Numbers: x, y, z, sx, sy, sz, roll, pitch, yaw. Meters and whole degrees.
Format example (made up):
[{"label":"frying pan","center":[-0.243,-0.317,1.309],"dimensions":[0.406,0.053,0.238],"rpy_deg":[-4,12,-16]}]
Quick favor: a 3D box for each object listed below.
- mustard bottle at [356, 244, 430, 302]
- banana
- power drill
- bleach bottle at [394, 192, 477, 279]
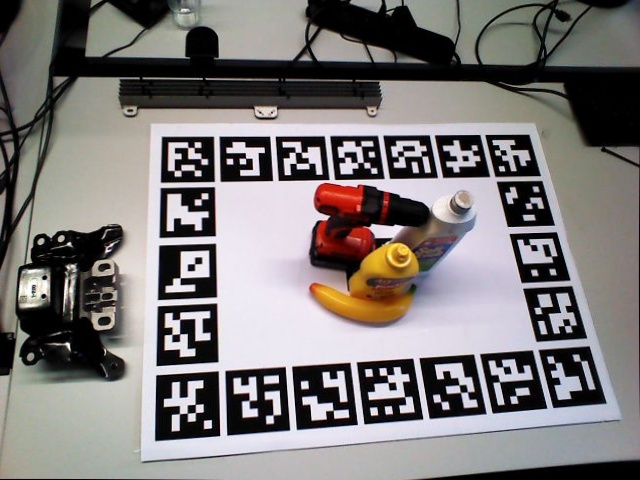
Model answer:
[{"label":"mustard bottle","center":[0.124,0.051,0.841],"dimensions":[0.096,0.192,0.058],"rpy_deg":[-1,69,-9]},{"label":"banana","center":[0.095,0.110,0.907],"dimensions":[0.197,0.039,0.074],"rpy_deg":[3,70,-4]},{"label":"power drill","center":[0.082,-0.022,0.841],"dimensions":[0.185,0.188,0.057],"rpy_deg":[11,67,-5]},{"label":"bleach bottle","center":[0.193,-0.013,0.849],"dimensions":[0.102,0.252,0.067],"rpy_deg":[1,63,-8]}]
